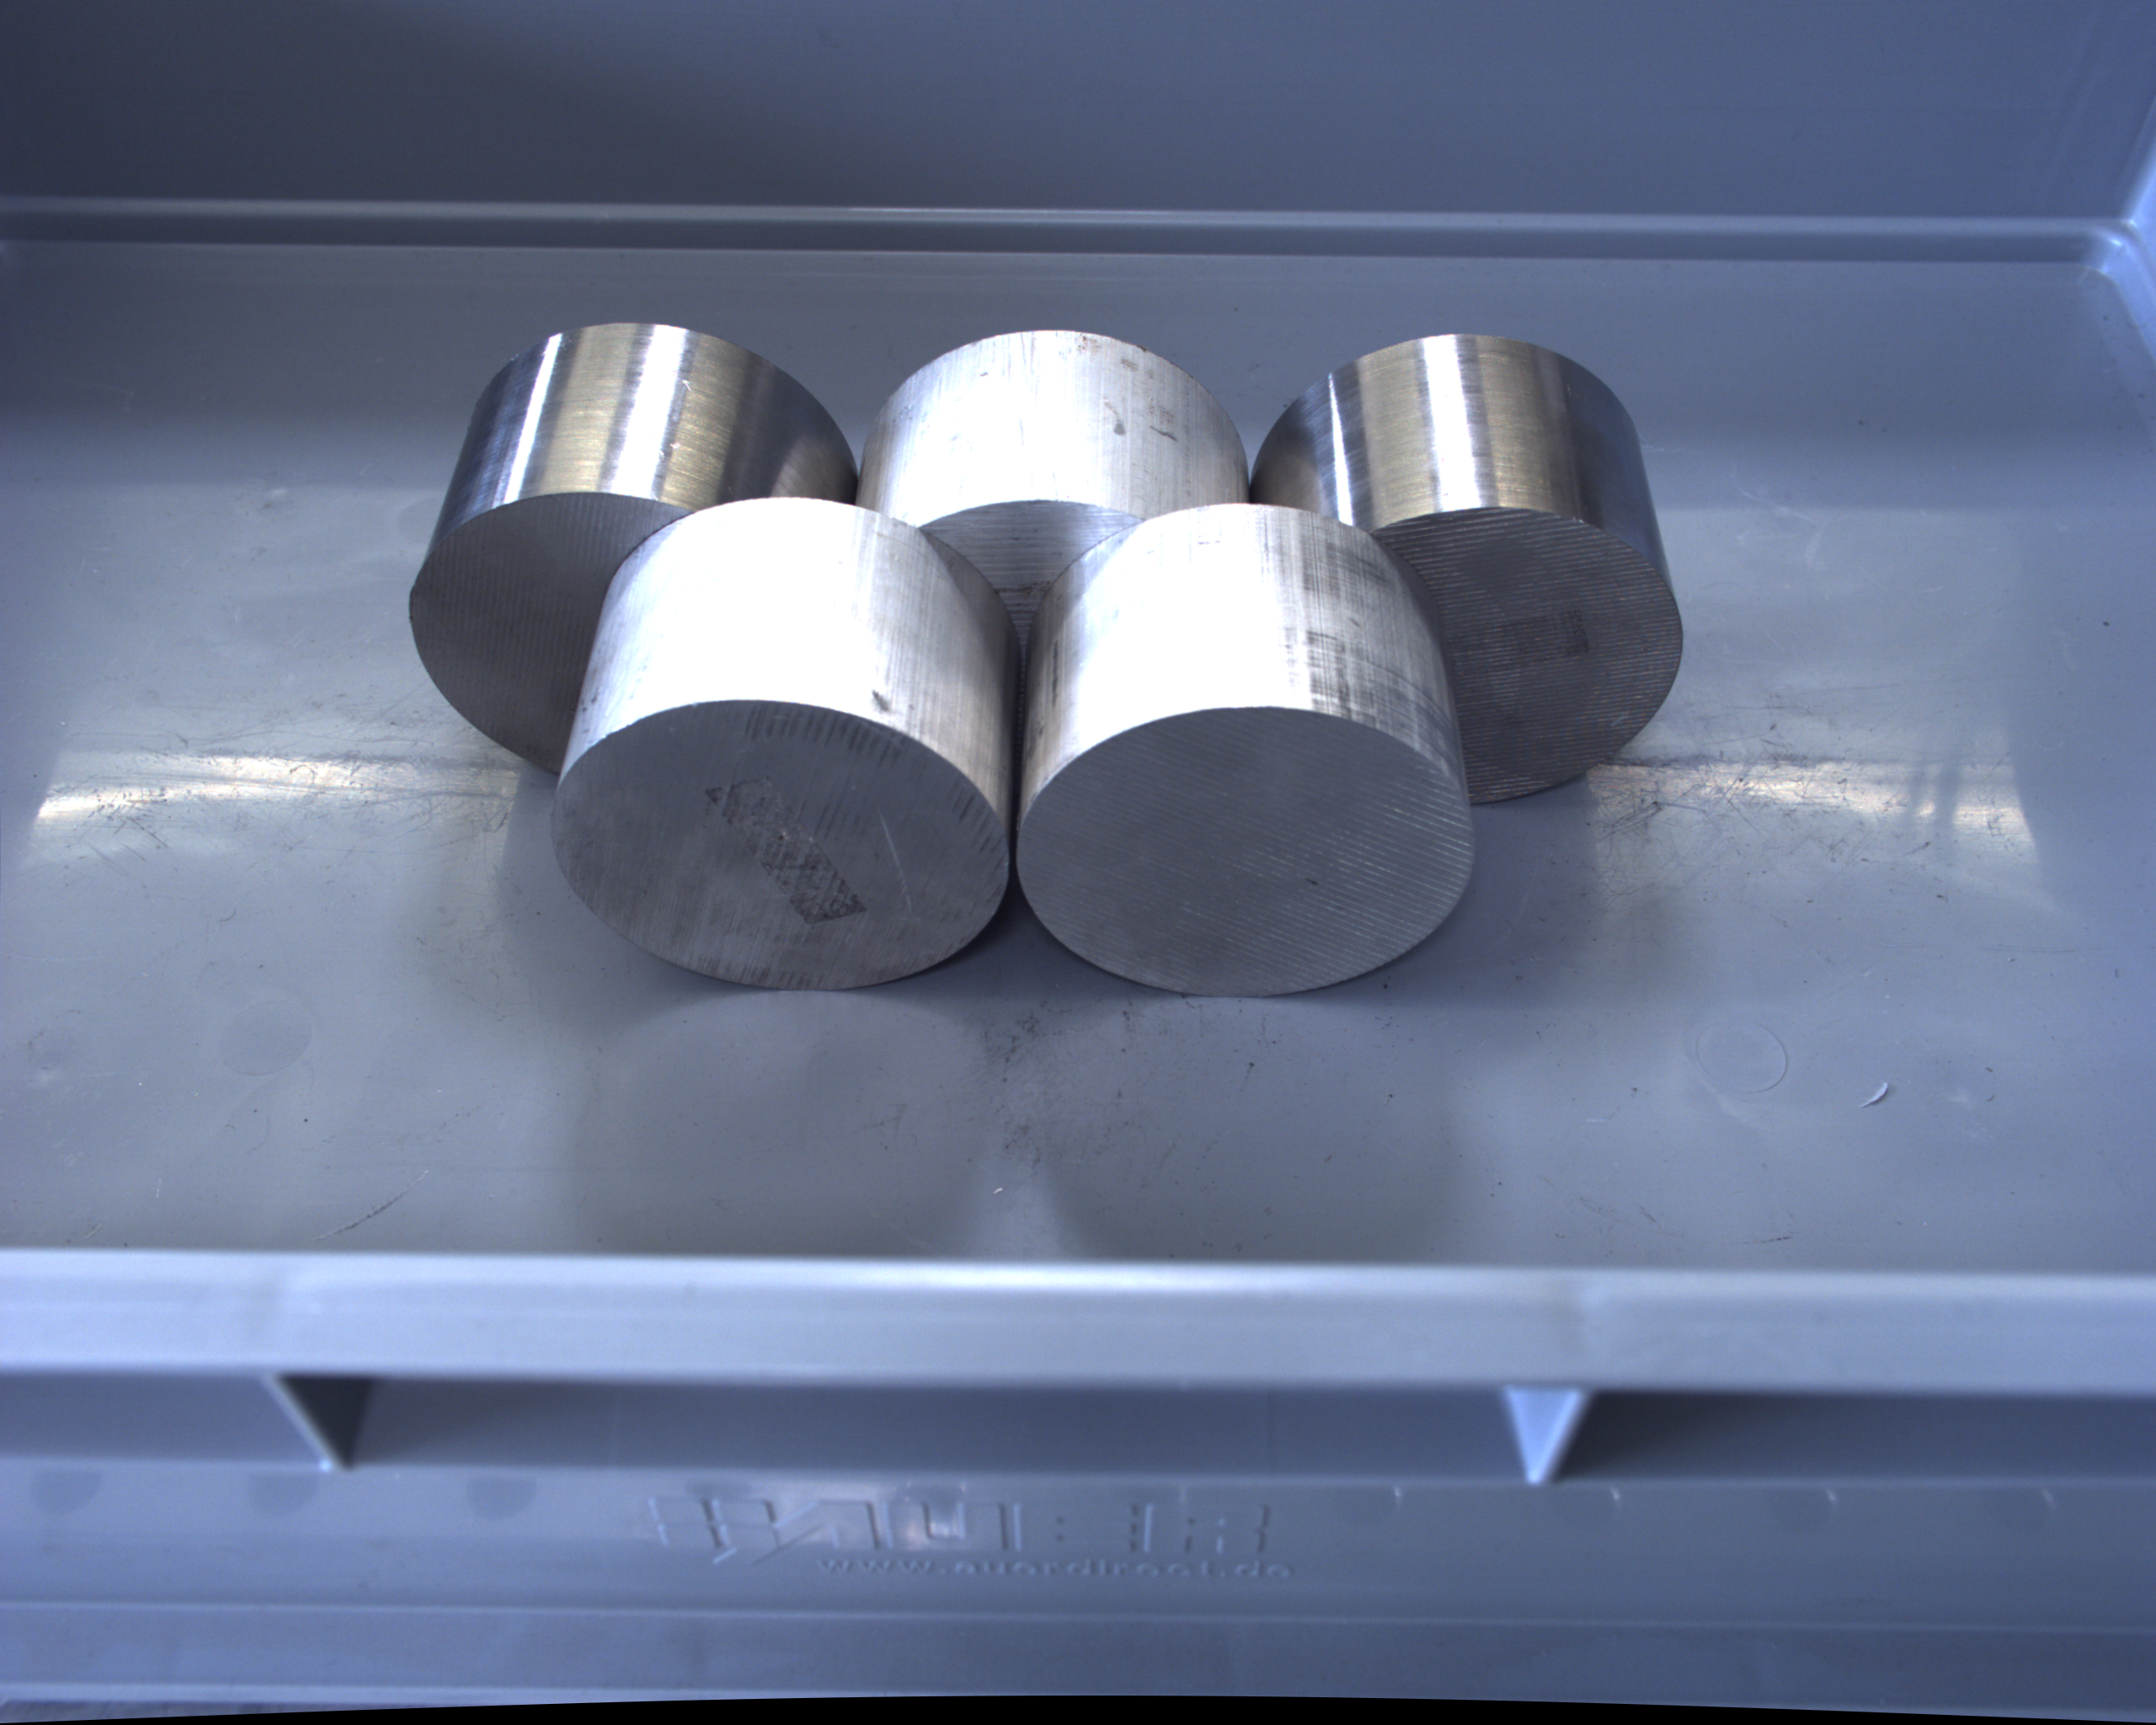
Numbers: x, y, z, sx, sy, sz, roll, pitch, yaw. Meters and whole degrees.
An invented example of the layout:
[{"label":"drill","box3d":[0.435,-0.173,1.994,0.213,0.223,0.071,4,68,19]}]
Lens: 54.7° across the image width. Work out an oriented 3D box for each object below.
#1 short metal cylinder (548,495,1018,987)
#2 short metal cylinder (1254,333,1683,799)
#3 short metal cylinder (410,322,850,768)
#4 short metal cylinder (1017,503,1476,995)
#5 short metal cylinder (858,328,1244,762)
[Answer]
[{"label":"short metal cylinder","box3d":[-0.052,-0.021,0.384,0.080,0.080,0.050,1,50,0]},{"label":"short metal cylinder","box3d":[0.075,-0.057,0.416,0.080,0.080,0.050,1,50,1]},{"label":"short metal cylinder","box3d":[-0.087,-0.060,0.417,0.080,0.080,0.050,1,50,0]},{"label":"short metal cylinder","box3d":[0.030,-0.019,0.383,0.080,0.080,0.050,1,50,0]},{"label":"short metal cylinder","box3d":[-0.006,-0.058,0.416,0.080,0.080,0.050,1,50,0]}]
